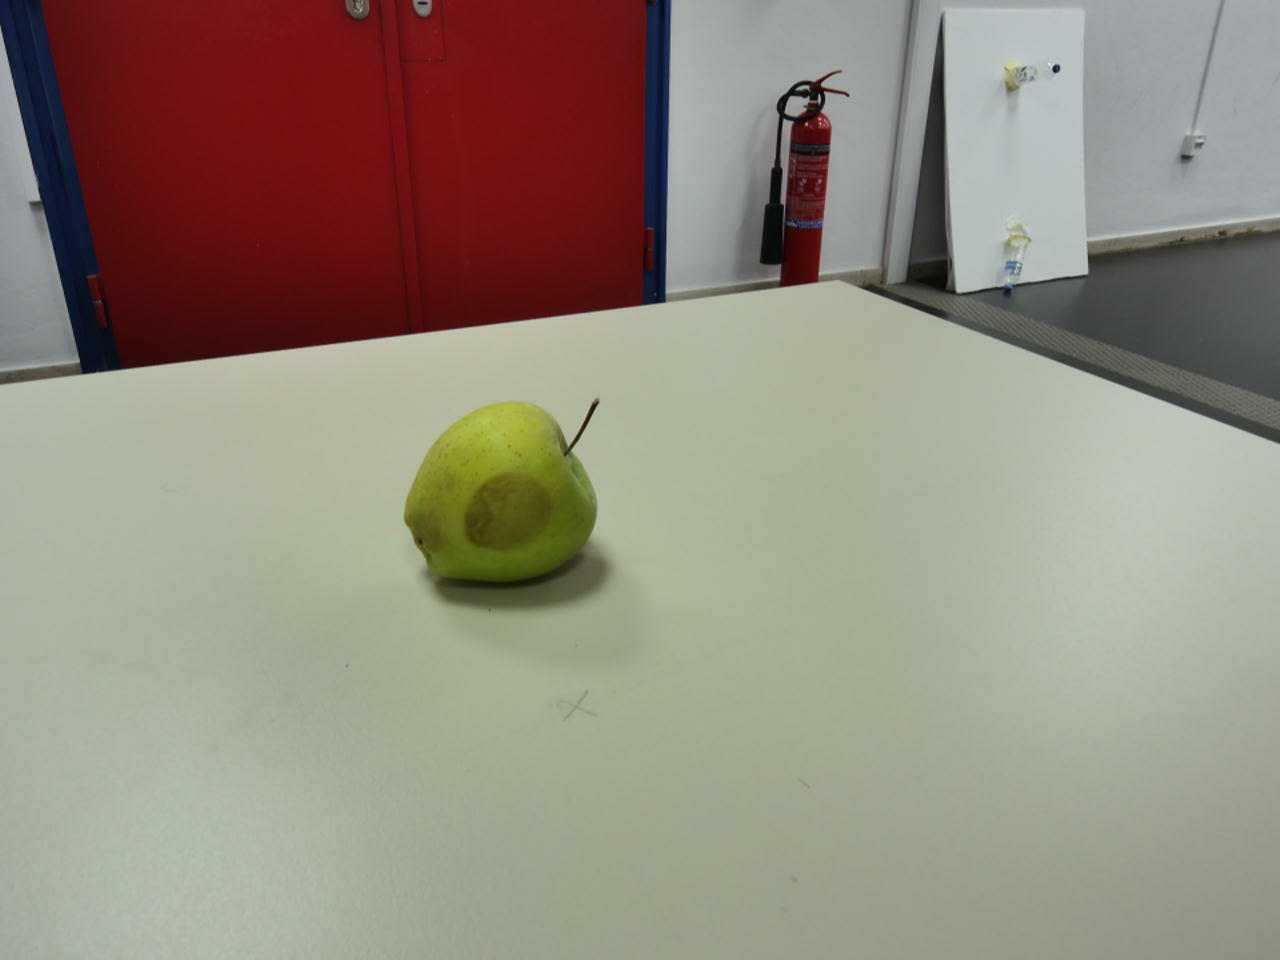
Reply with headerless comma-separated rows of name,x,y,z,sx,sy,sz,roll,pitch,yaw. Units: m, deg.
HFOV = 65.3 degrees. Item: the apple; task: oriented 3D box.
apple,-0.057,0.005,0.422,0.077,0.075,0.072,9,25,16
